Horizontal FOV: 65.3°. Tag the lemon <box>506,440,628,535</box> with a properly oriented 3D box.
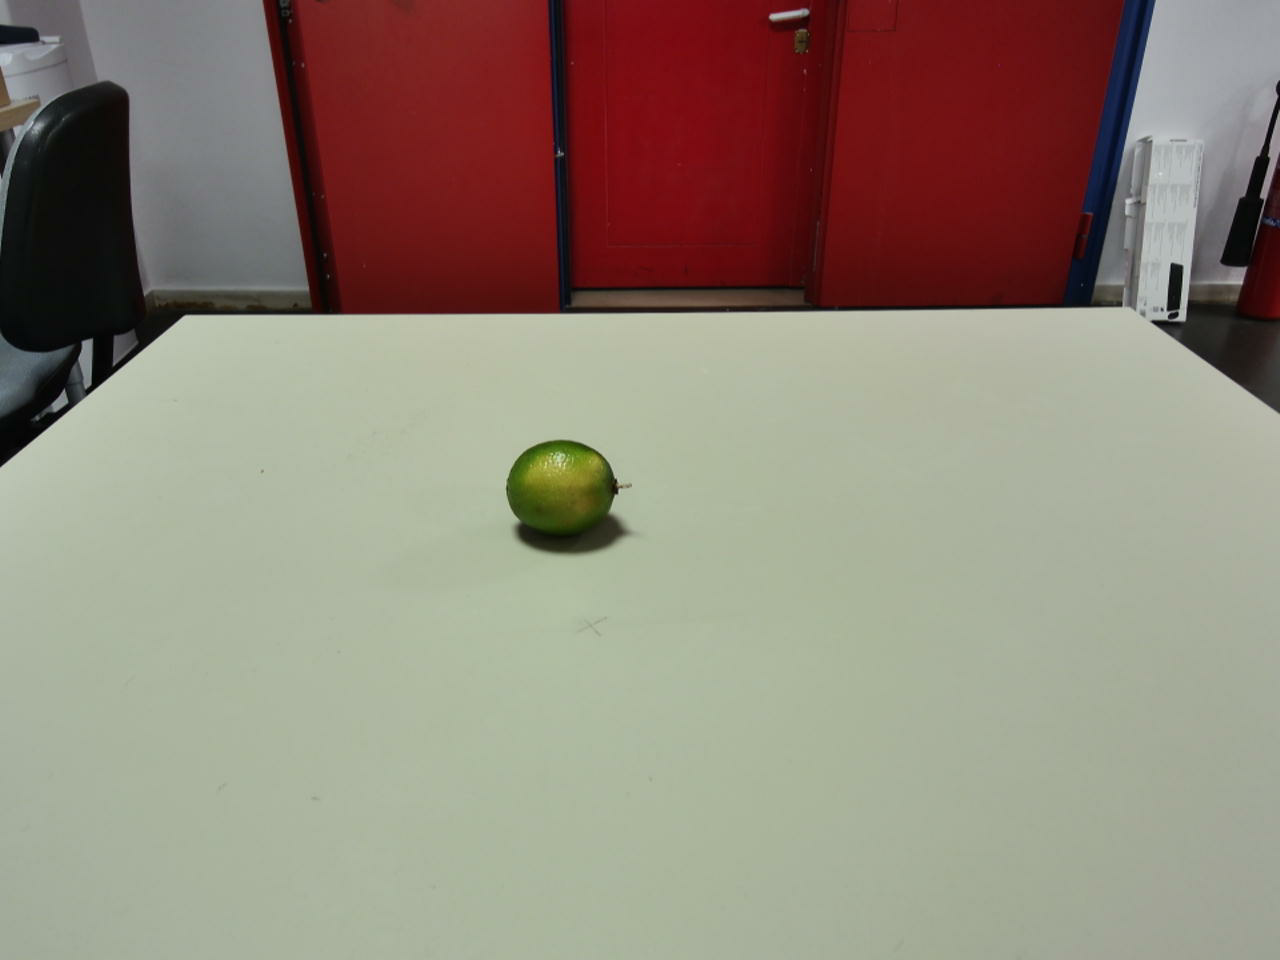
[{"bbox_3d":[-0.042,0.004,0.531,0.054,0.050,0.055,-22,32,-36],"label":"lemon"}]
